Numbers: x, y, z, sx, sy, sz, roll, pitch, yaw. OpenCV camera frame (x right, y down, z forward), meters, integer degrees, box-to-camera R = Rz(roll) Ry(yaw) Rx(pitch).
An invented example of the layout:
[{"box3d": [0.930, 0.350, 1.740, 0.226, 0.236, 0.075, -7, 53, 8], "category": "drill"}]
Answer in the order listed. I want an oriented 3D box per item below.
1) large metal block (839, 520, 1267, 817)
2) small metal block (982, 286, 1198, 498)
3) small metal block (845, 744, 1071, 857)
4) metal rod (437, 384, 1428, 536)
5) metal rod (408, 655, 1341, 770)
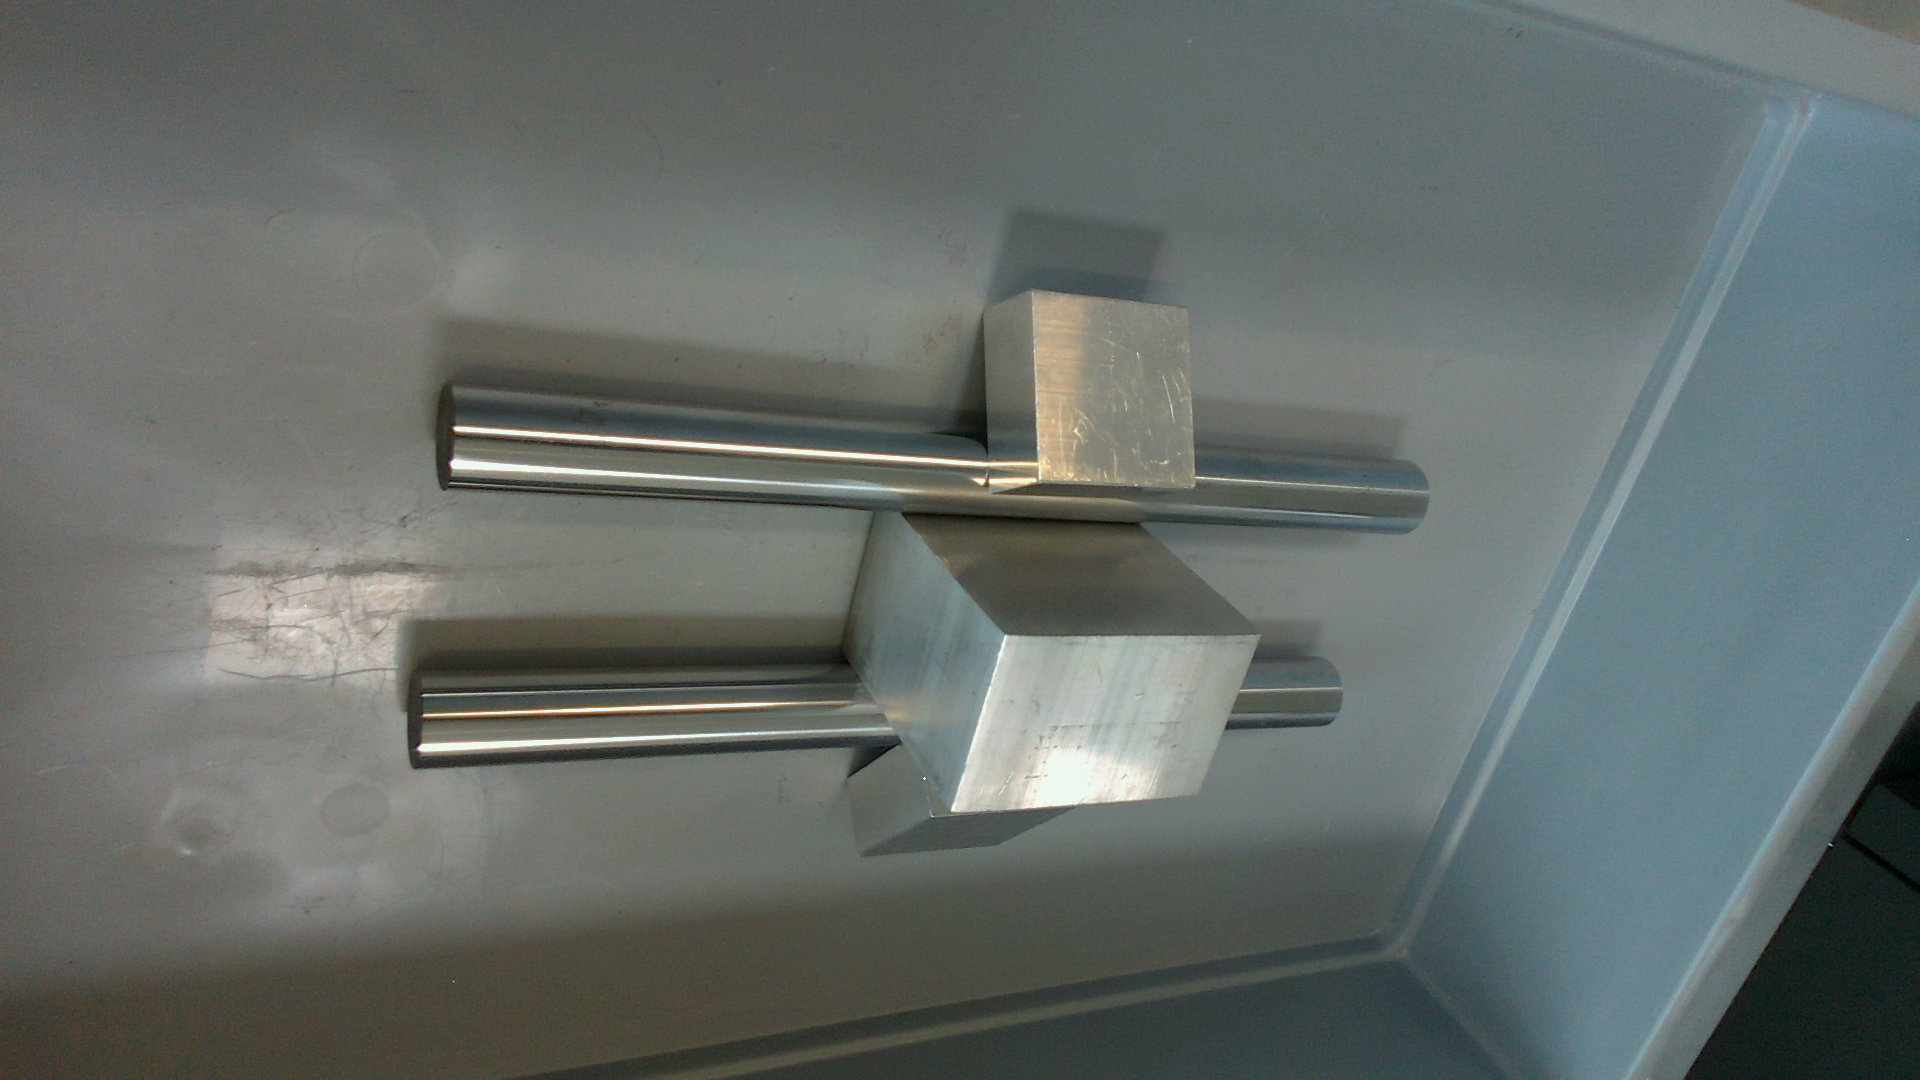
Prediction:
[{"box3d": [0.022, 0.028, 0.381, 0.080, 0.080, 0.050, 2, 118, -29], "category": "large metal block"}, {"box3d": [0.035, -0.038, 0.369, 0.050, 0.025, 0.050, 1, 84, -29], "category": "small metal block"}, {"box3d": [-0.001, 0.076, 0.419, 0.050, 0.025, 0.050, 2, 155, -30], "category": "small metal block"}, {"box3d": [0.015, -0.018, 0.384, 0.301, 0.025, 0.025, 2, 118, -29], "category": "metal rod"}, {"box3d": [-0.004, 0.049, 0.416, 0.301, 0.025, 0.025, 2, 118, -29], "category": "metal rod"}]
